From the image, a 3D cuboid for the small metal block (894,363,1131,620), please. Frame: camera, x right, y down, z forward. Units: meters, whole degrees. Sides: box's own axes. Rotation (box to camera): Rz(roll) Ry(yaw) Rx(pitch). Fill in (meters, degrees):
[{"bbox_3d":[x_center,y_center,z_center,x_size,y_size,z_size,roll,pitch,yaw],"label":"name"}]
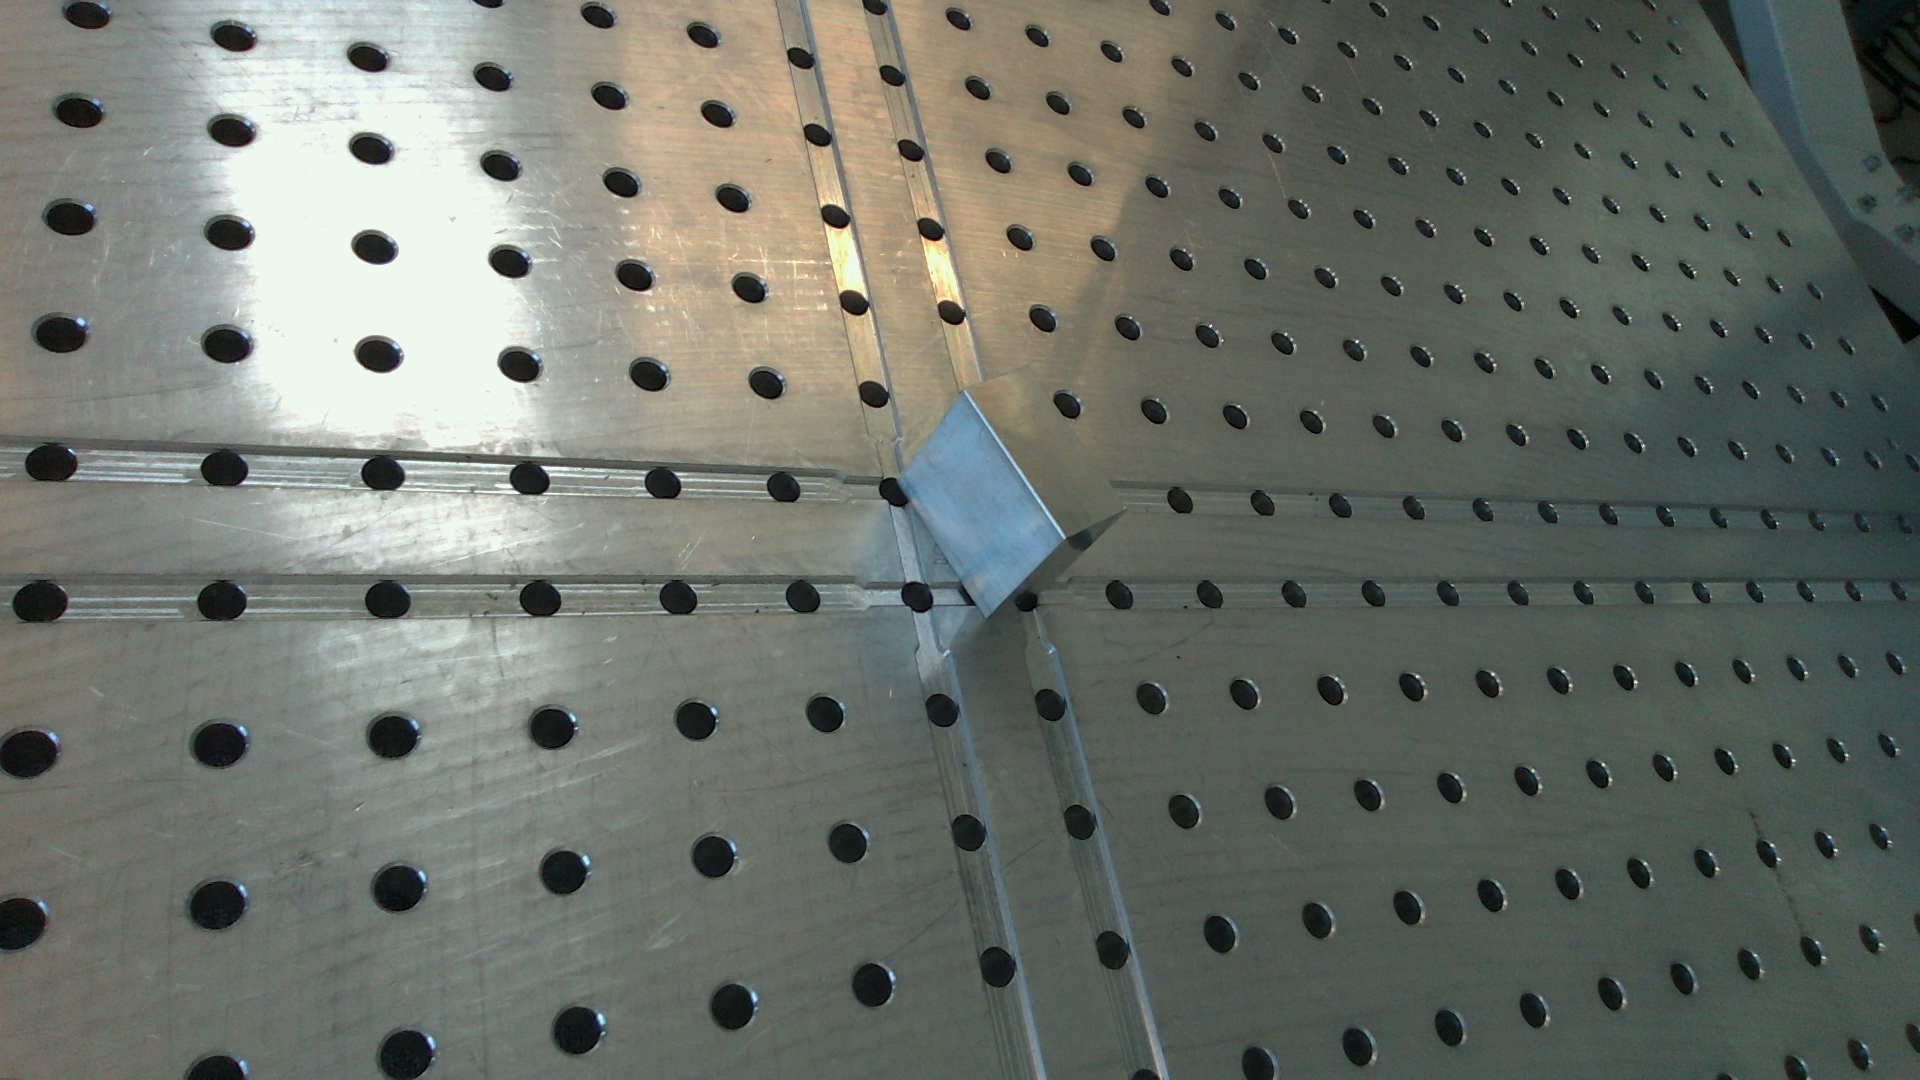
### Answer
[{"bbox_3d":[0.013,-0.013,0.391,0.025,0.050,0.050,-25,75,-37],"label":"small metal block"}]
